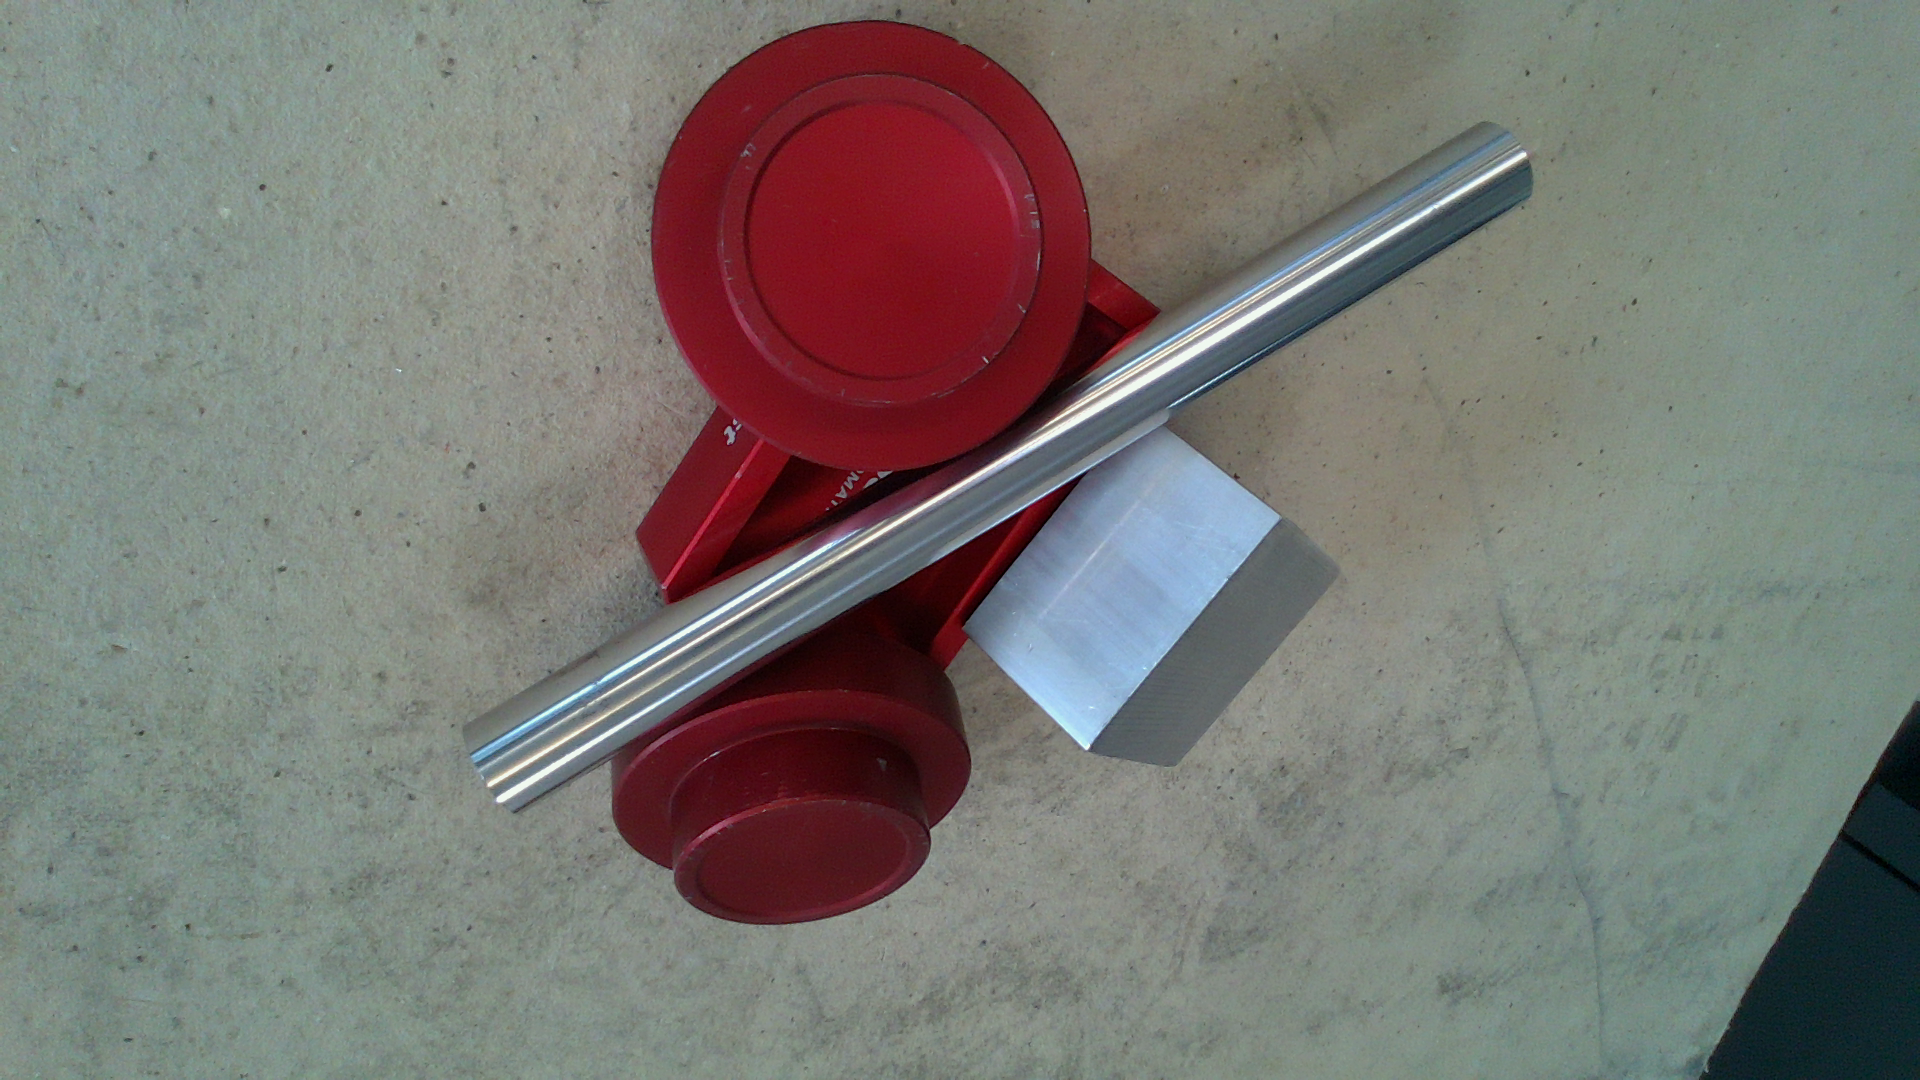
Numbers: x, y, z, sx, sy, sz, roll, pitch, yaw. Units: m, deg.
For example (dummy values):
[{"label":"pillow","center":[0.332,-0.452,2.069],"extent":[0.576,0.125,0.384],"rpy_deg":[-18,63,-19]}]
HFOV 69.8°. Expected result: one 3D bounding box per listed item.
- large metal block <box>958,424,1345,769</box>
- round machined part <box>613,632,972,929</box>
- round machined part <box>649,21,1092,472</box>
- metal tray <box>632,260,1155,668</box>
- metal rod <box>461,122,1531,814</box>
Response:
[{"label":"large metal block","center":[0.058,0.017,0.397],"extent":[0.080,0.050,0.080],"rpy_deg":[-51,153,7]},{"label":"round machined part","center":[-0.044,0.071,0.376],"extent":[0.098,0.042,0.098],"rpy_deg":[-9,140,-7]},{"label":"round machined part","center":[-0.019,-0.064,0.303],"extent":[0.098,0.042,0.098],"rpy_deg":[-1,97,-8]},{"label":"metal tray","center":[-0.013,-0.027,0.362],"extent":[0.090,0.030,0.130],"rpy_deg":[27,103,-37]},{"label":"metal rod","center":[0.016,-0.023,0.346],"extent":[0.300,0.025,0.025],"rpy_deg":[-31,129,-8]}]
